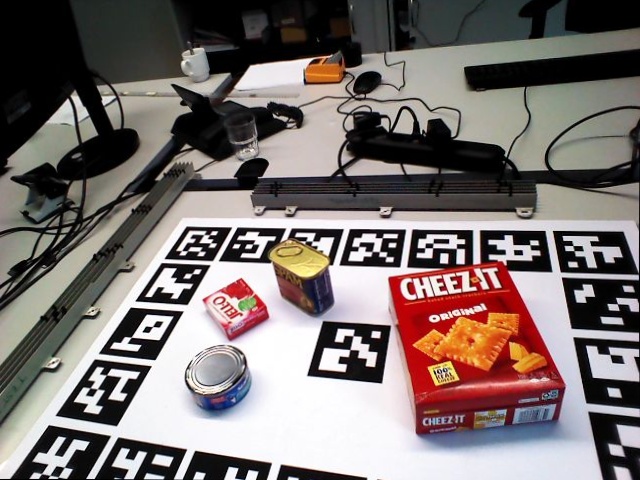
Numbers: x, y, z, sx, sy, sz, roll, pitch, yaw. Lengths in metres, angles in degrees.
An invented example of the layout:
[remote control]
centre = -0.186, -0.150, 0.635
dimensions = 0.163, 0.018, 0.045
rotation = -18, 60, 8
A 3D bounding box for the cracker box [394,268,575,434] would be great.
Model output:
[cracker box]
centre = 0.195, 0.131, 0.665
dimensions = 0.164, 0.072, 0.212
rotation = -9, 34, 1

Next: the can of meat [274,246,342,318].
[can of meat]
centre = -0.017, 0.065, 0.810
dimensions = 0.102, 0.084, 0.057
rotation = 22, 46, 39

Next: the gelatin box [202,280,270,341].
[gelatin box]
centre = -0.133, 0.108, 0.816
dimensions = 0.073, 0.030, 0.089
rotation = -27, 40, -25

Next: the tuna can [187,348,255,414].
[tuna can]
centre = -0.131, 0.189, 0.695
dimensions = 0.086, 0.034, 0.085
rotation = -9, 38, 7
